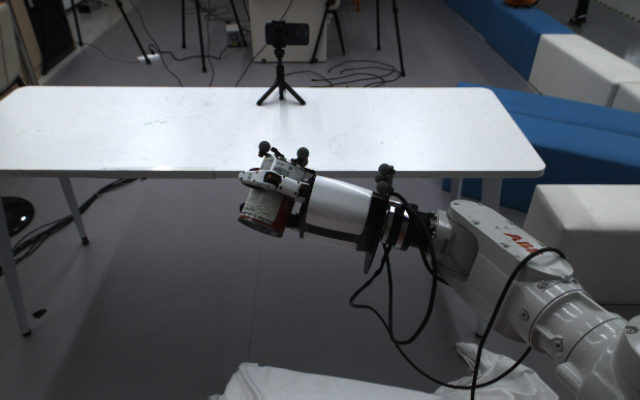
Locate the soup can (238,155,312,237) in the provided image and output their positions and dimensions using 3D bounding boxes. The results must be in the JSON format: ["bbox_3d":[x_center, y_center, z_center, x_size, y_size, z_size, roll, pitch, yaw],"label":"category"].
[{"bbox_3d":[-0.067,-0.005,0.697,0.067,0.067,0.101,16,76,19],"label":"soup can"}]
